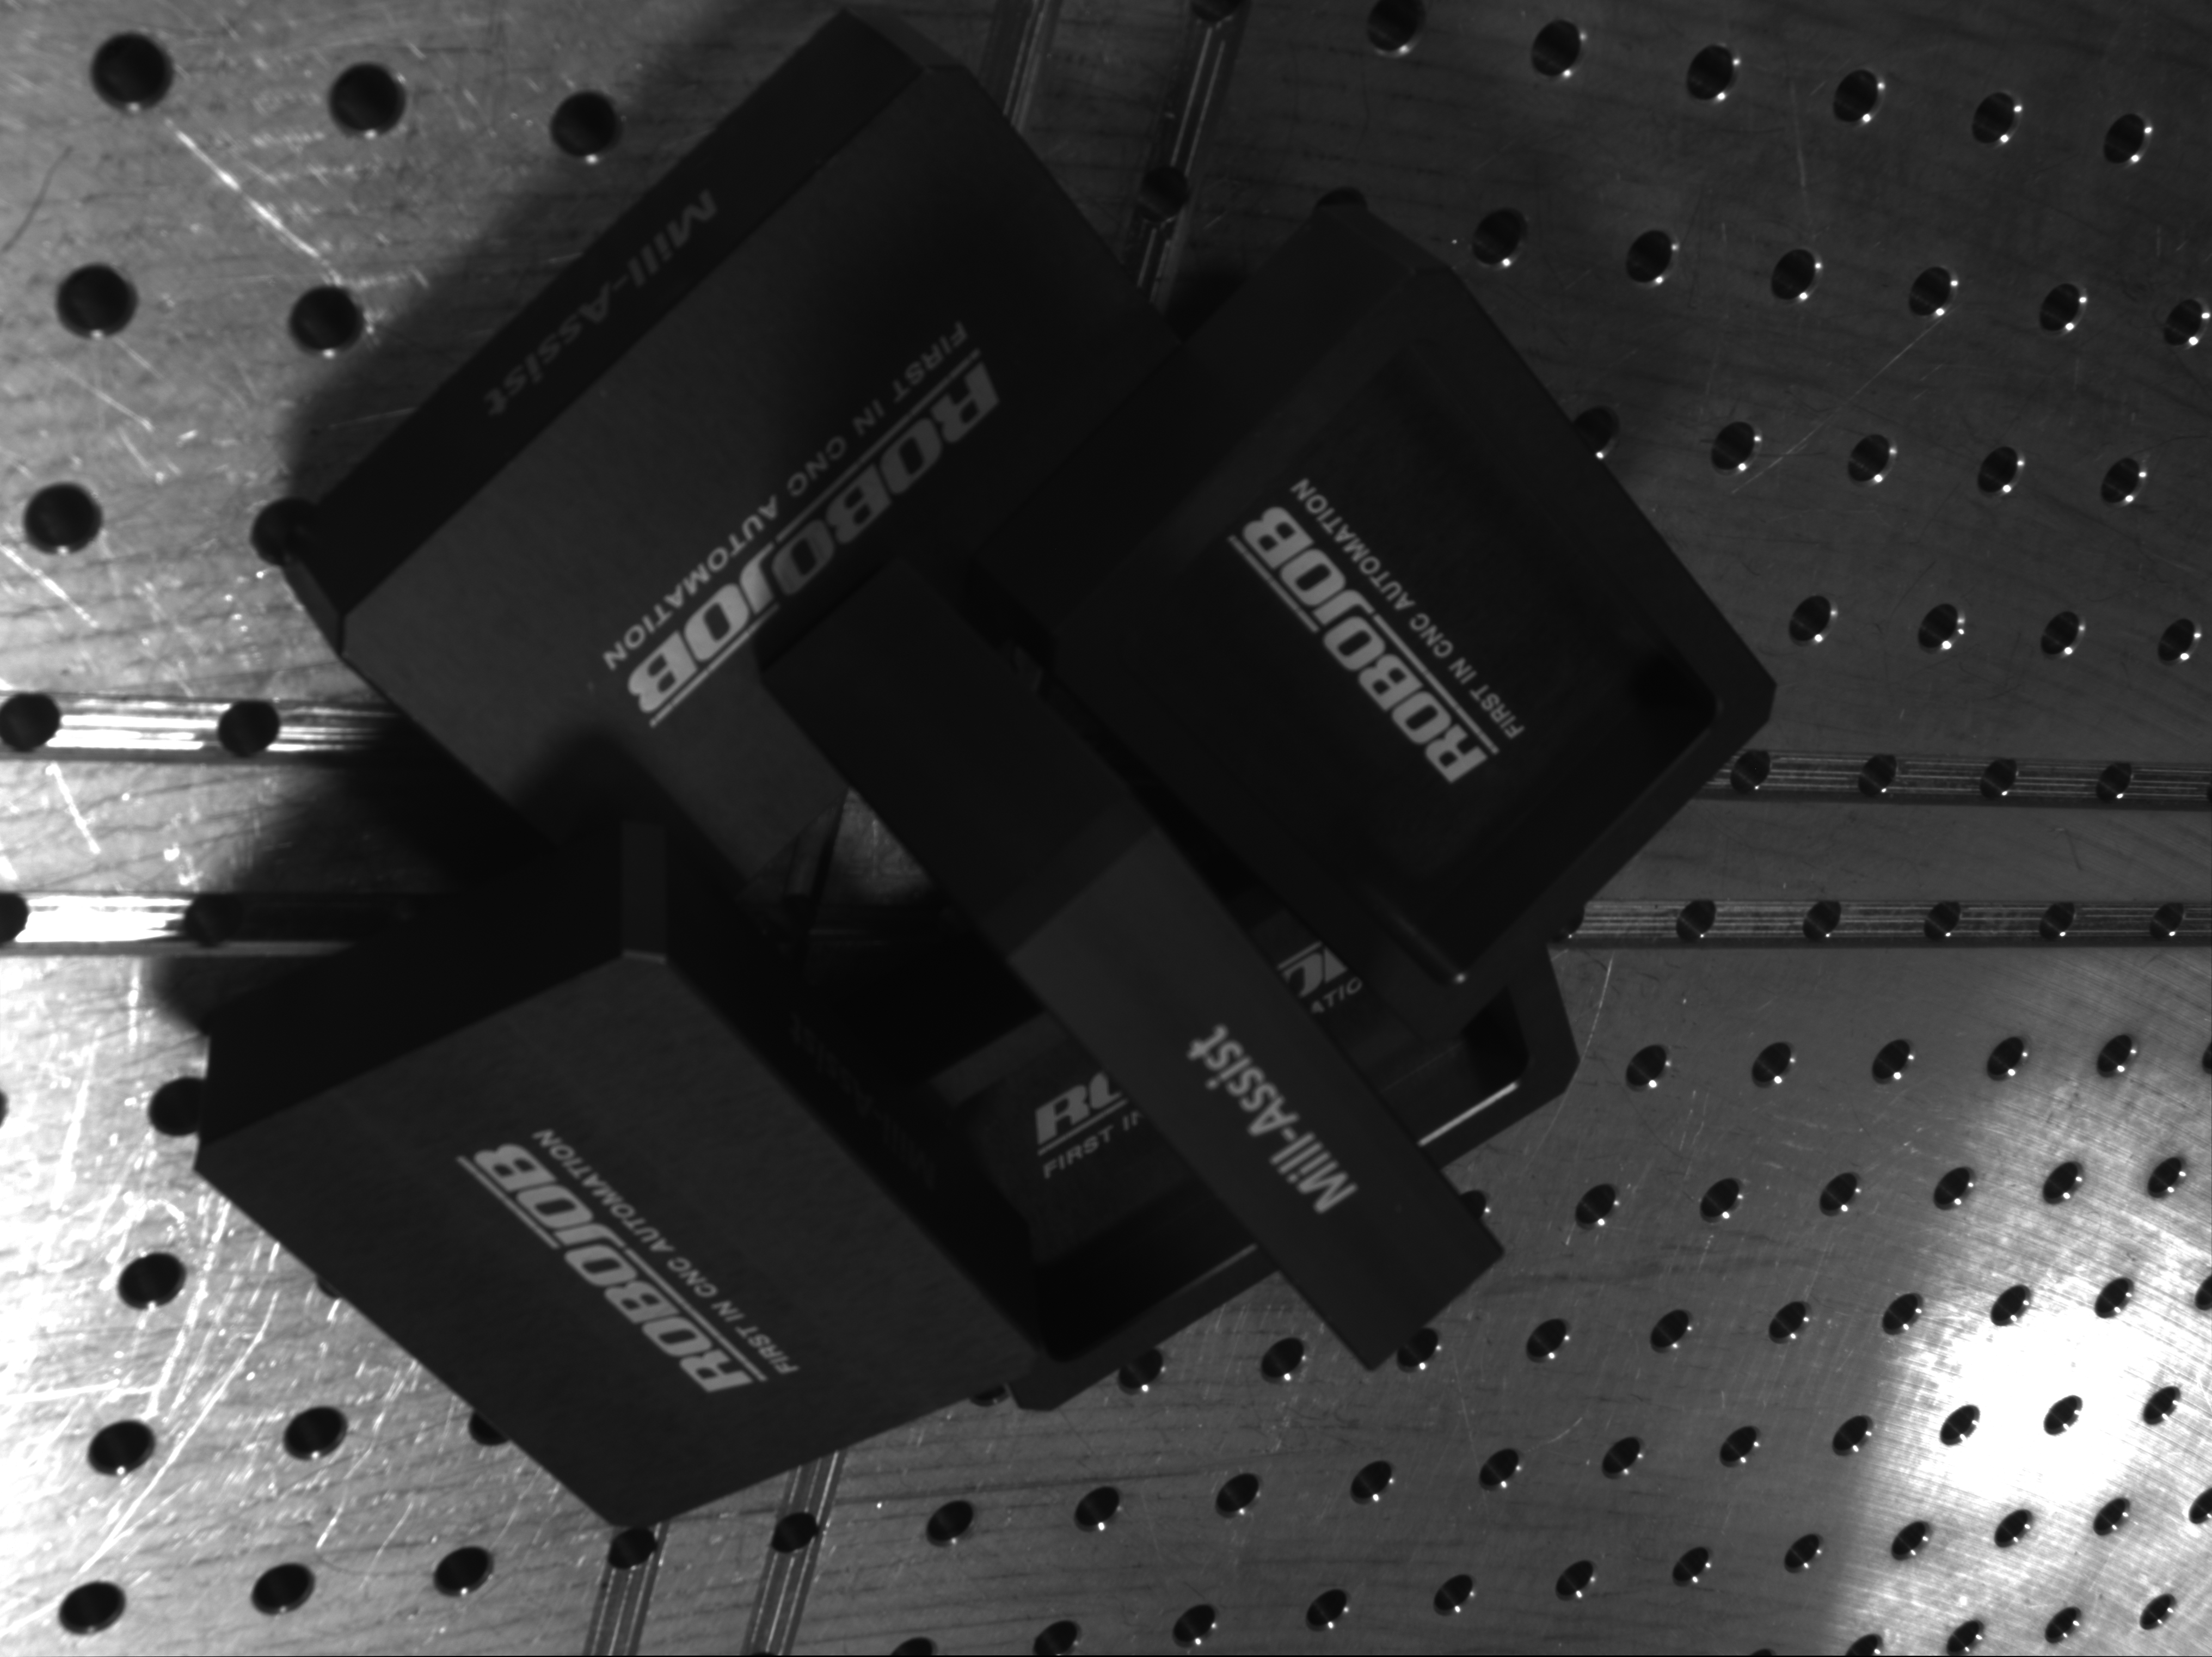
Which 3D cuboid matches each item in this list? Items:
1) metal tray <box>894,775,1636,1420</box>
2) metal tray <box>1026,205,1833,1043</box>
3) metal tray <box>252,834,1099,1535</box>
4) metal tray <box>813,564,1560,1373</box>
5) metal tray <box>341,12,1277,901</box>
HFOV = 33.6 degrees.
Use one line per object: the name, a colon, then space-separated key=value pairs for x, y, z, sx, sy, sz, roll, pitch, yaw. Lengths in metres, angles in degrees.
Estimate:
metal tray: x=0.032 y=0.044 z=0.695 sx=0.130 sy=0.030 sz=0.090 roll=-30 pitch=129 yaw=-11
metal tray: x=0.058 y=-0.032 z=0.625 sx=0.090 sy=0.030 sz=0.130 roll=-45 pitch=130 yaw=2
metal tray: x=-0.070 y=0.065 z=0.625 sx=0.090 sy=0.030 sz=0.130 roll=-24 pitch=132 yaw=17
metal tray: x=0.014 y=0.024 z=0.594 sx=0.030 sy=0.090 sz=0.130 roll=-42 pitch=130 yaw=-1
metal tray: x=-0.045 y=-0.055 z=0.589 sx=0.130 sy=0.030 sz=0.090 roll=-43 pitch=130 yaw=0
